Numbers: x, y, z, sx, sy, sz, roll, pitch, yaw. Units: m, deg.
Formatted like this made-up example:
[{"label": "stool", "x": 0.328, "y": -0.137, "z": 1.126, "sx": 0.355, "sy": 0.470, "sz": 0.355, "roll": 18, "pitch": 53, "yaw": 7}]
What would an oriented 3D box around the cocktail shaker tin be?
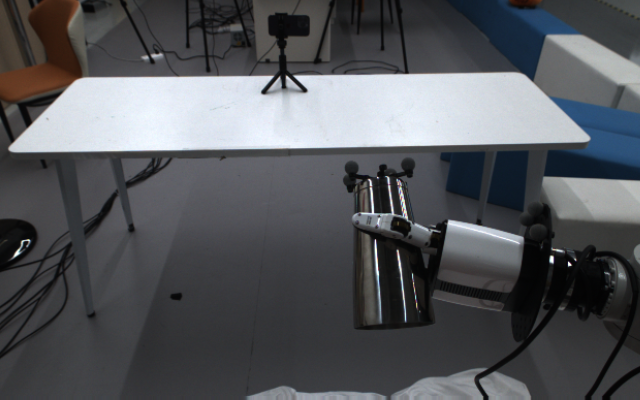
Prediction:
[{"label": "cocktail shaker tin", "x": 0.079, "y": 0.063, "z": 0.572, "sx": 0.093, "sy": 0.093, "sz": 0.170, "roll": -2, "pitch": 70, "yaw": -5}]
